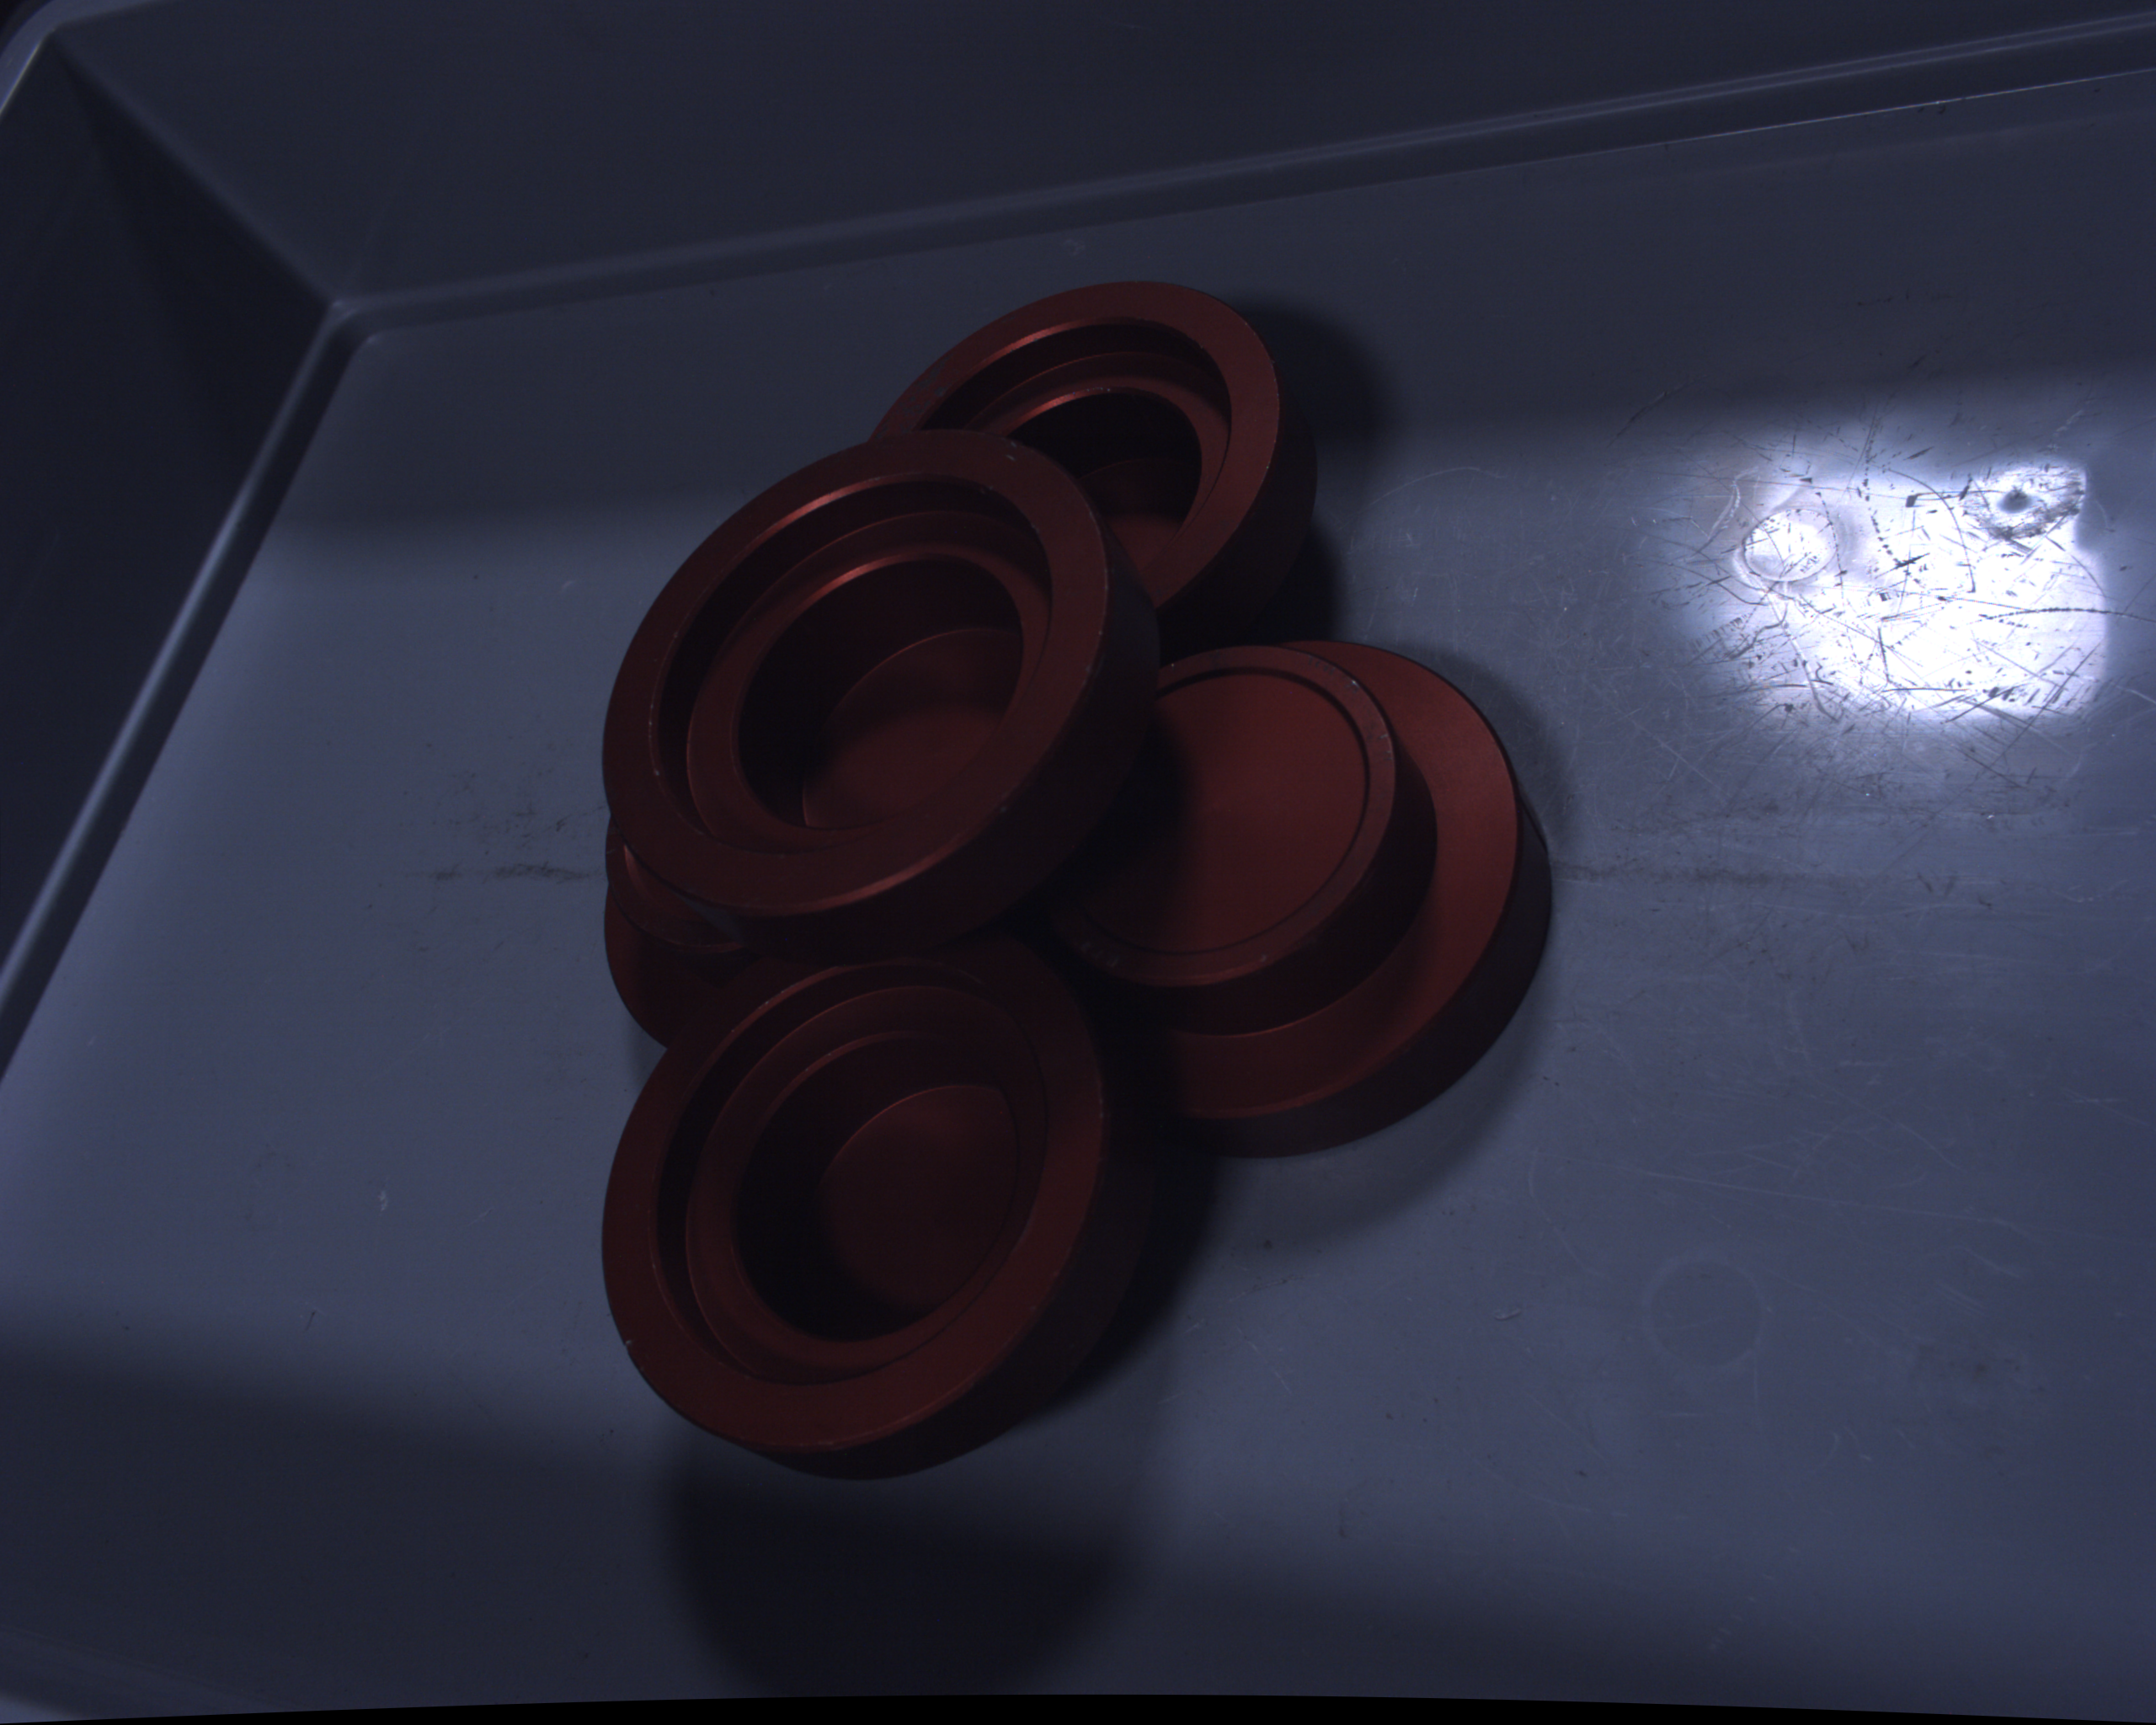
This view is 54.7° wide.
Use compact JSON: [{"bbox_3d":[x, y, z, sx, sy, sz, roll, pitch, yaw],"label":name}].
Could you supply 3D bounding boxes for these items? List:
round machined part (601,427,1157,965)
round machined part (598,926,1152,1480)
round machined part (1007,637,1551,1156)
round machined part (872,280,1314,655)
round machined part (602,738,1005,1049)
[{"bbox_3d":[-0.031,-0.025,0.369,0.098,0.042,0.098,-13,56,20],"label":"round machined part"},{"bbox_3d":[-0.032,0.060,0.371,0.098,0.042,0.098,-13,56,20],"label":"round machined part"},{"bbox_3d":[0.031,0.000,0.375,0.098,0.042,0.098,-13,56,20],"label":"round machined part"},{"bbox_3d":[0.002,-0.069,0.432,0.098,0.042,0.098,-13,56,20],"label":"round machined part"},{"bbox_3d":[-0.056,-0.003,0.422,0.098,0.042,0.098,-13,56,20],"label":"round machined part"}]
